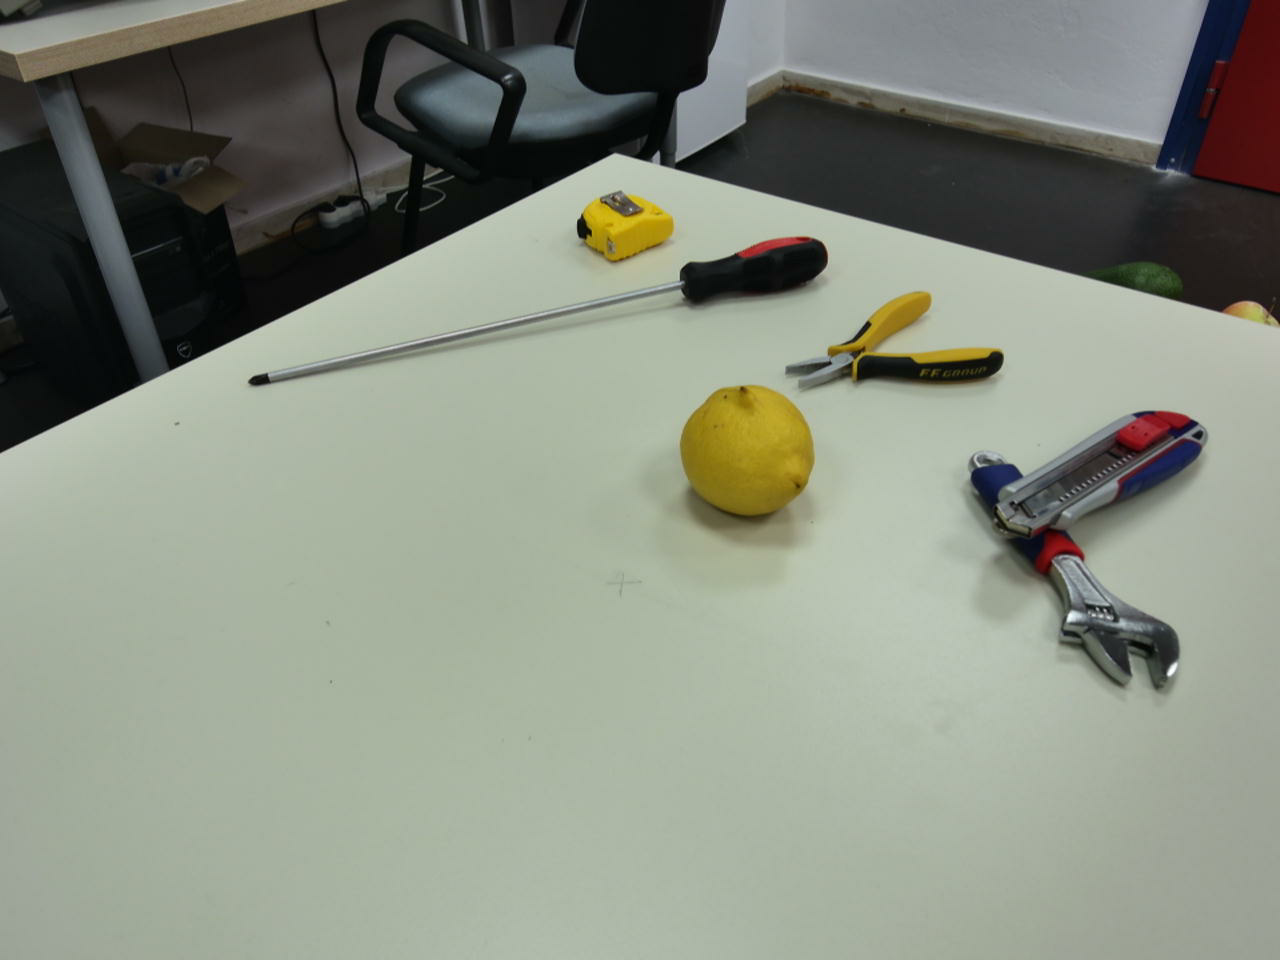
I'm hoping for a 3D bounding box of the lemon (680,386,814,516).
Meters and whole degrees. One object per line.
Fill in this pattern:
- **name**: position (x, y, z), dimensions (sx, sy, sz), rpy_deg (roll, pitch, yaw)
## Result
- **lemon**: position (0.056, -0.019, 0.528), dimensions (0.070, 0.071, 0.071), rpy_deg (3, 37, 3)
